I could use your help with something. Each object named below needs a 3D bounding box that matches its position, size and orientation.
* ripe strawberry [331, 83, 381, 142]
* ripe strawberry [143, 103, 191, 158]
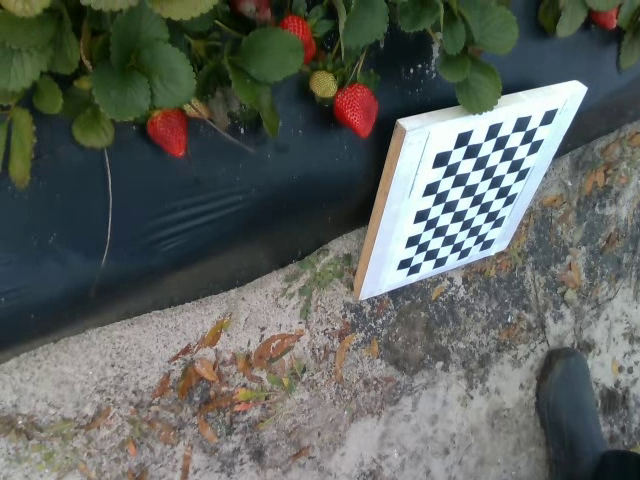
[{"bbox_3d":[0.040,-0.130,0.667,0.057,0.064,0.056,-25,-30,16],"label":"ripe strawberry"},{"bbox_3d":[-0.135,-0.098,0.577,0.044,0.051,0.041,-25,9,-8],"label":"ripe strawberry"}]
